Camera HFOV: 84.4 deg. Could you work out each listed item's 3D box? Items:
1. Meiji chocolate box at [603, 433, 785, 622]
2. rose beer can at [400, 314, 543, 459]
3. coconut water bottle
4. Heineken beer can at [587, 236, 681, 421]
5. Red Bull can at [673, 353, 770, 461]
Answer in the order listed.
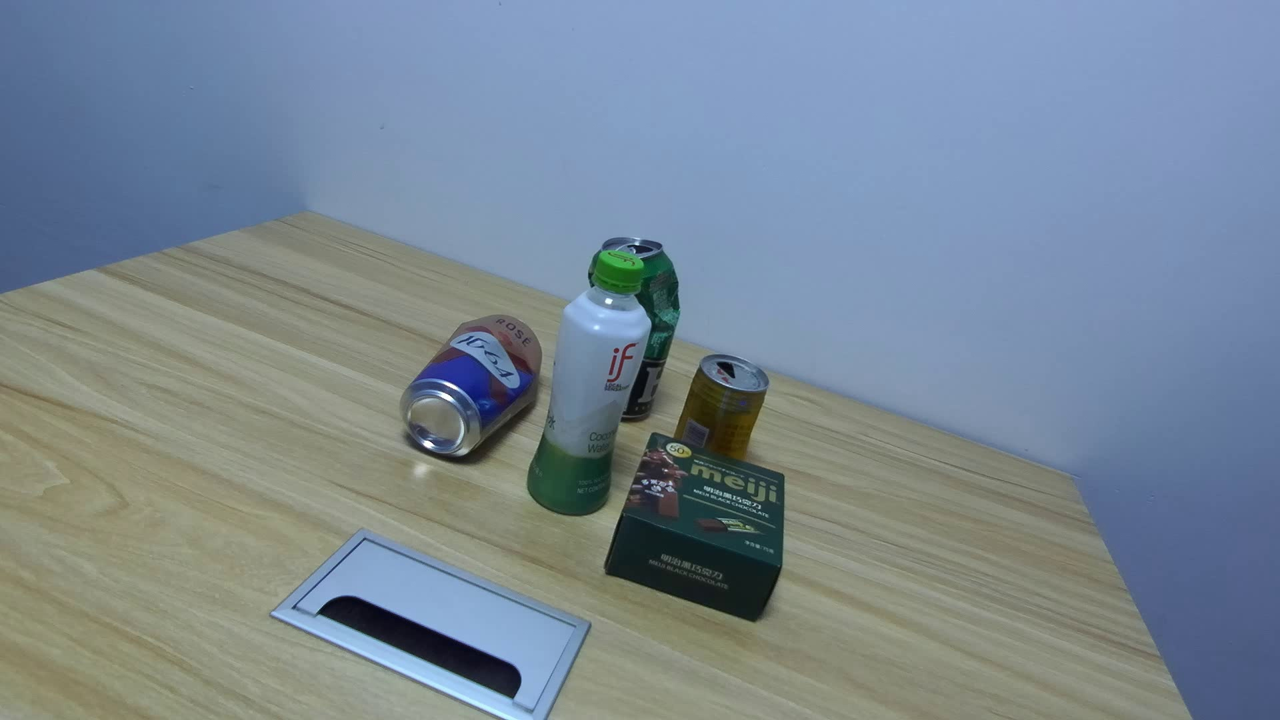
[{"bbox_3d":[0.043,0.115,0.502,0.110,0.056,0.109,18,26,5],"label":"Meiji chocolate box"},{"bbox_3d":[-0.133,0.014,0.595,0.070,0.069,0.168,-2,23,13],"label":"rose beer can"},{"bbox_3d":[-0.033,0.017,0.497,0.063,0.188,0.063,12,26,-5],"label":"coconut water bottle"},{"bbox_3d":[-0.007,-0.026,0.633,0.079,0.159,0.067,1,25,-12],"label":"Heineken beer can"},{"bbox_3d":[0.066,0.049,0.596,0.069,0.092,0.069,13,26,-6],"label":"Red Bull can"}]
